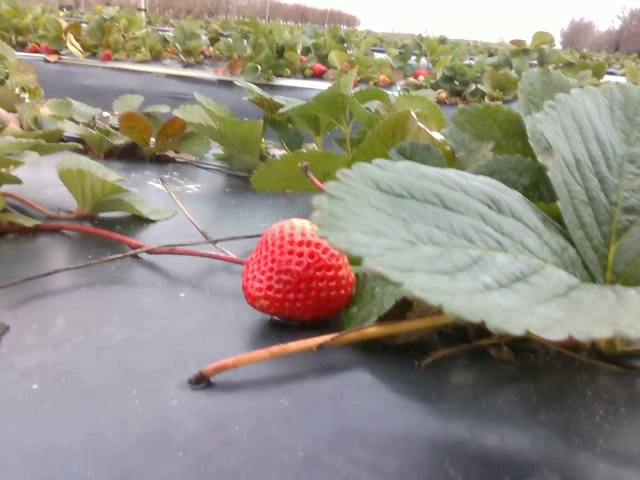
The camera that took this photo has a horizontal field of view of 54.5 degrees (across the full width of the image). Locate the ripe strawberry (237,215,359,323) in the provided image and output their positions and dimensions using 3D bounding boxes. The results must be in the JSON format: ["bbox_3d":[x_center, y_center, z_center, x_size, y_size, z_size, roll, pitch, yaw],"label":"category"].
[{"bbox_3d":[-0.017,0.012,0.298,0.061,0.065,0.050,28,-30,26],"label":"ripe strawberry"}]
